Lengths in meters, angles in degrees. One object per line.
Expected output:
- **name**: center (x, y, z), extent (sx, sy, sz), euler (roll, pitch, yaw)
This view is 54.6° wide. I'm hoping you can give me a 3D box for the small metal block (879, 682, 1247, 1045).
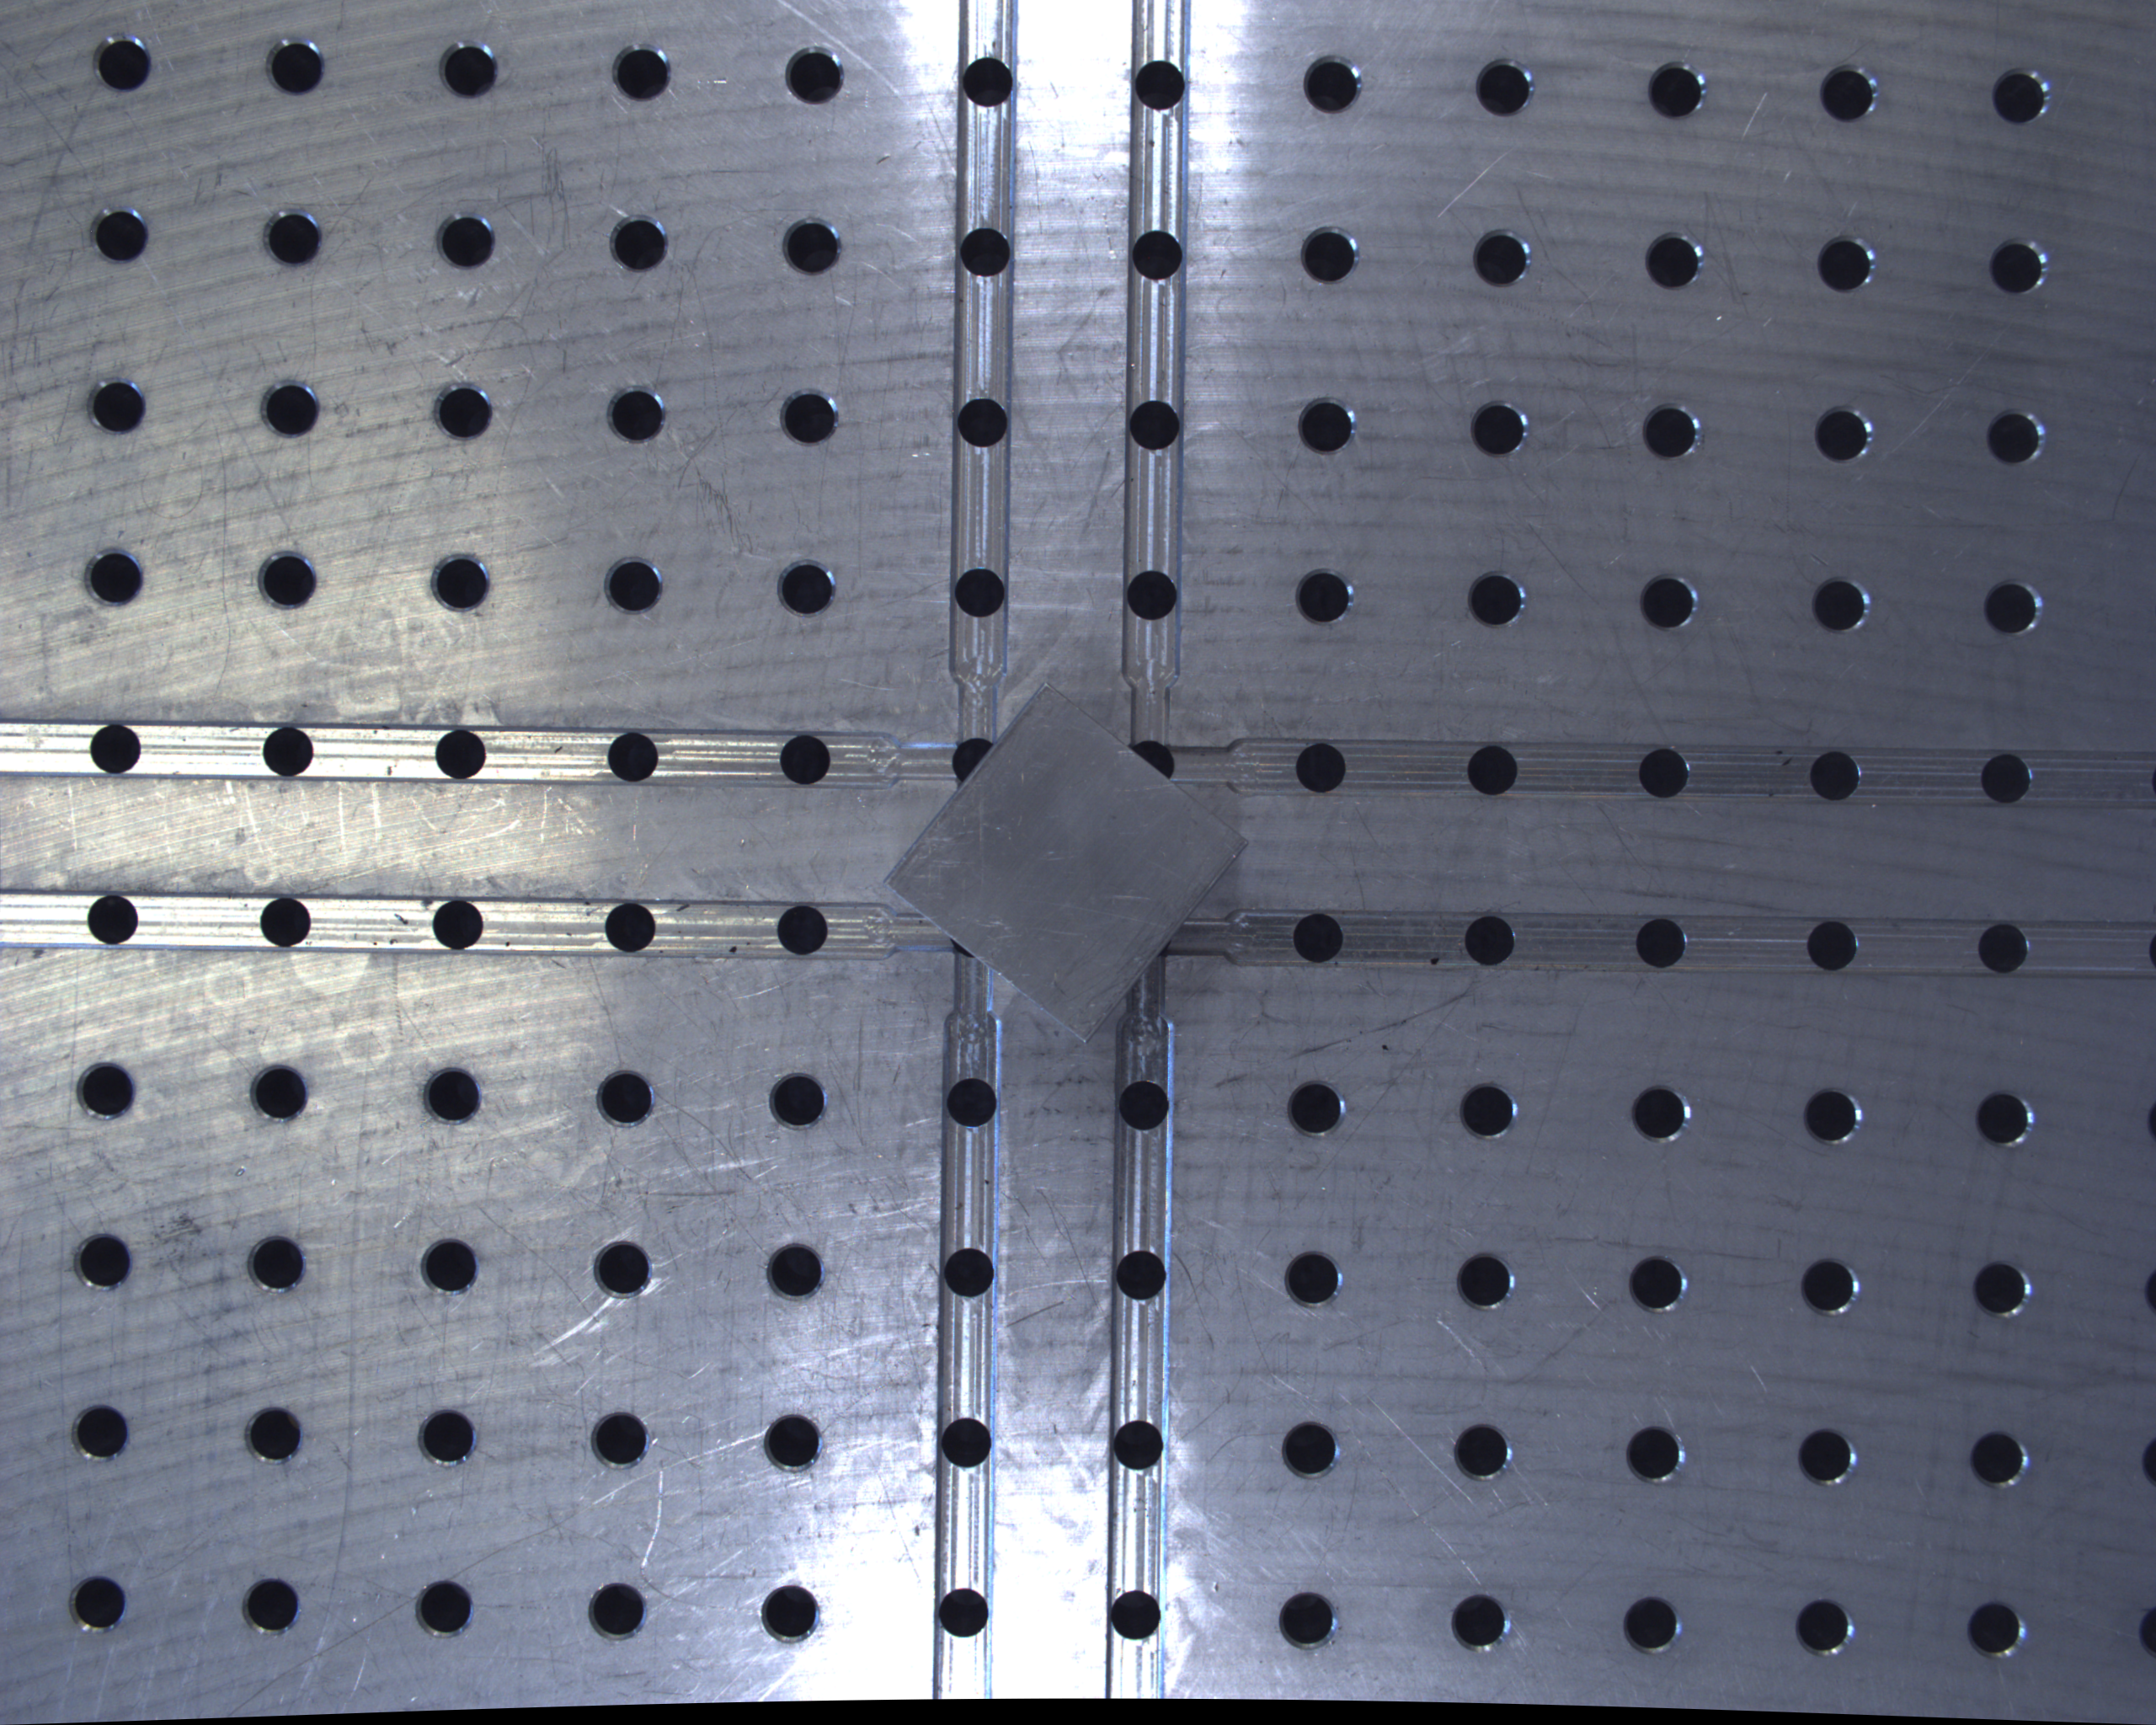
- **small metal block**: center (-0.003, 0.000, 0.413), extent (0.050, 0.025, 0.050), euler (38, 90, -1)
